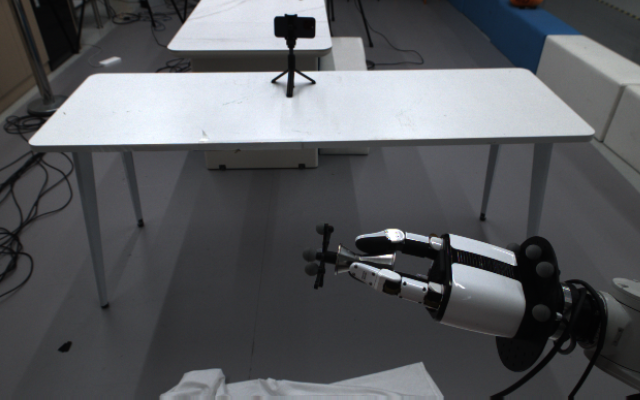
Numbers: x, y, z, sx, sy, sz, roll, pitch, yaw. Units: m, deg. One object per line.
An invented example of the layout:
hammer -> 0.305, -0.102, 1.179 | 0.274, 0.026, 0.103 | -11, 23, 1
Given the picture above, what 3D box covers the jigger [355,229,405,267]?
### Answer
jigger -> 0.062, 0.071, 0.586 | 0.071, 0.043, 0.043 | 7, 35, 9
